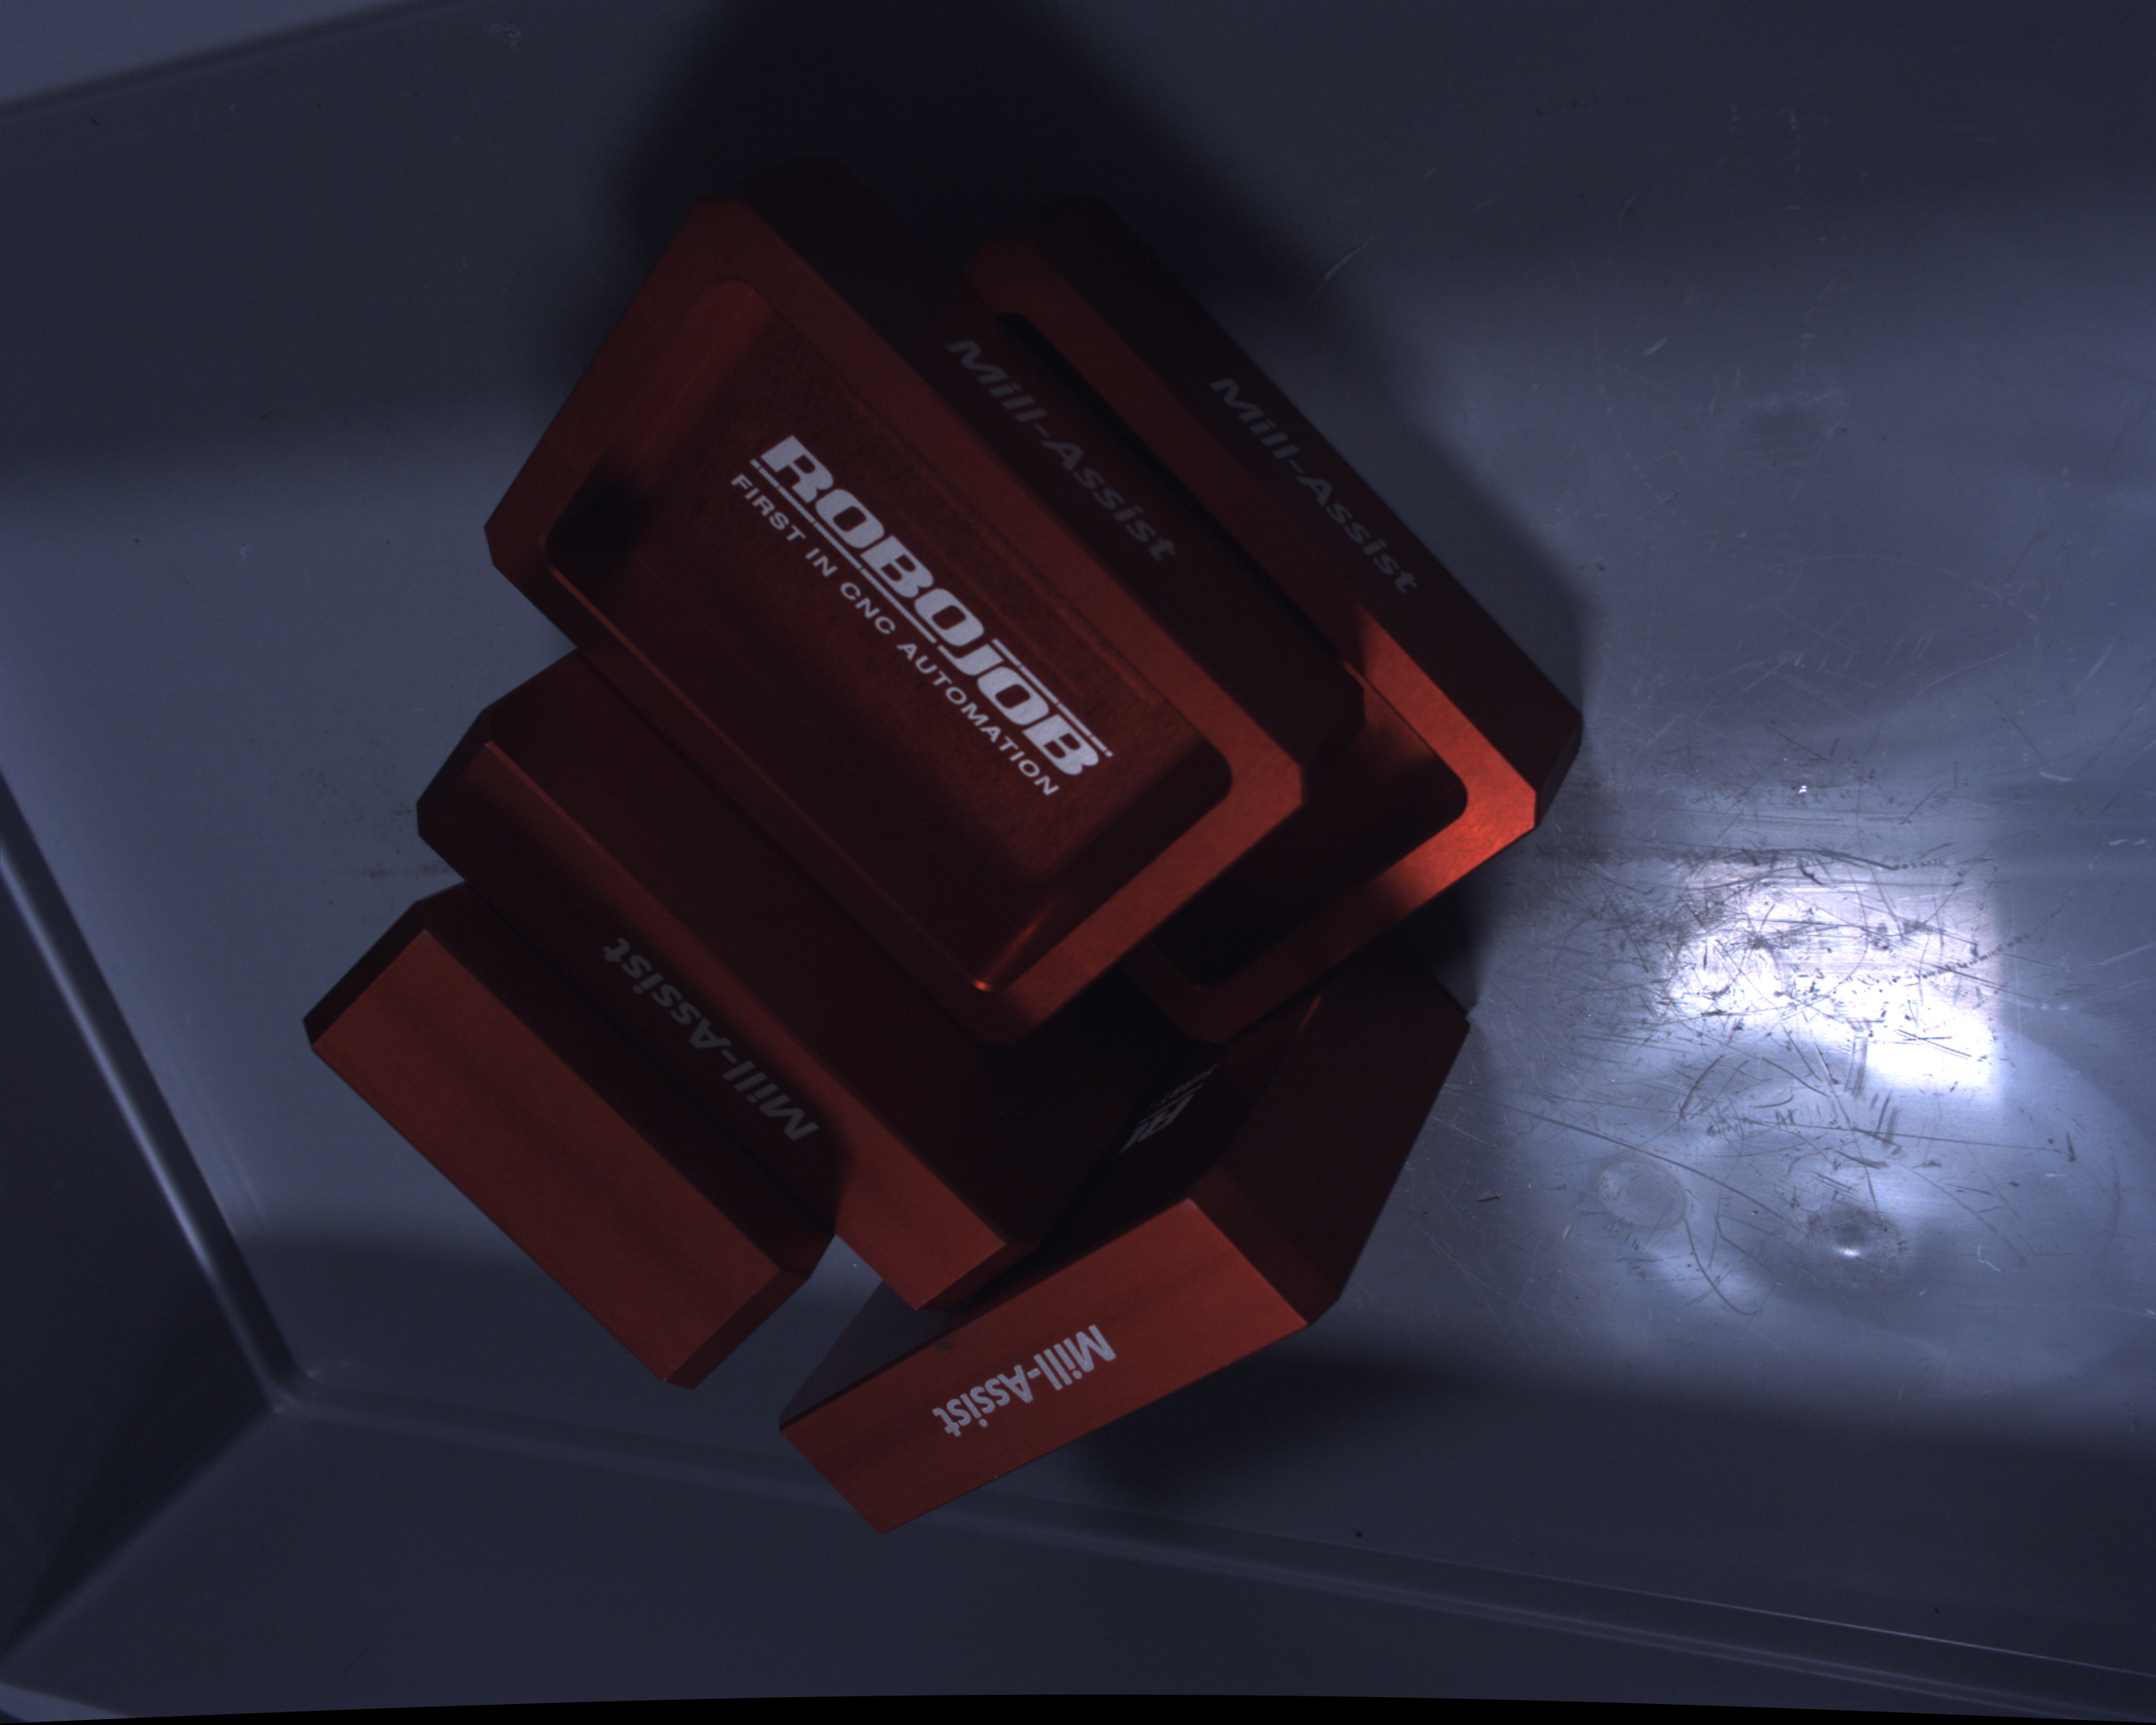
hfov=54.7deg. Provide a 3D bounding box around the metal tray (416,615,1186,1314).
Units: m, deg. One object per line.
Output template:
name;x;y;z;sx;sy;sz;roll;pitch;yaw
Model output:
metal tray;-0.045;0.009;0.391;0.130;0.090;0.030;45;129;-3

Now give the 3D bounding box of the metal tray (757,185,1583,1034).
metal tray;0.013;-0.041;0.372;0.130;0.030;0.090;48;130;-5

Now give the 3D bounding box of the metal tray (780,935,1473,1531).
metal tray;0.008;0.070;0.402;0.030;0.090;0.129;49;128;-6

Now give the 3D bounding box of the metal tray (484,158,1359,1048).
metal tray;-0.029;-0.040;0.353;0.130;0.030;0.090;45;129;-3

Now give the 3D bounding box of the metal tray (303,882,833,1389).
metal tray;-0.083;0.039;0.406;0.090;0.130;0.030;45;99;-3
